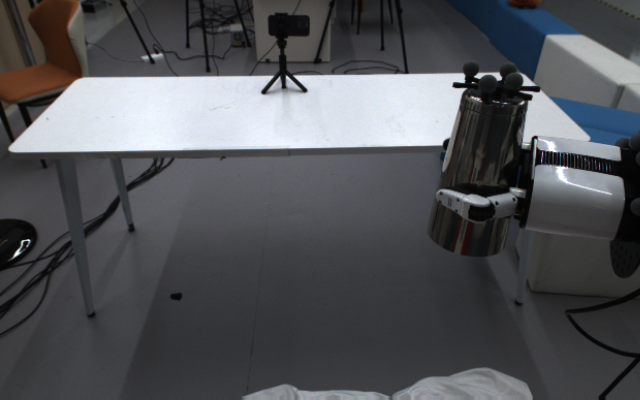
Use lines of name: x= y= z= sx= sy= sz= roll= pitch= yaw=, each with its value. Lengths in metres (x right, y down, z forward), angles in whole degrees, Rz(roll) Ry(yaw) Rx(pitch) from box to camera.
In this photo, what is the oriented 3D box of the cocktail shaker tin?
cocktail shaker tin: x=0.181 y=-0.034 z=0.541 sx=0.093 sy=0.170 sz=0.093 roll=2 pitch=28 yaw=-1
